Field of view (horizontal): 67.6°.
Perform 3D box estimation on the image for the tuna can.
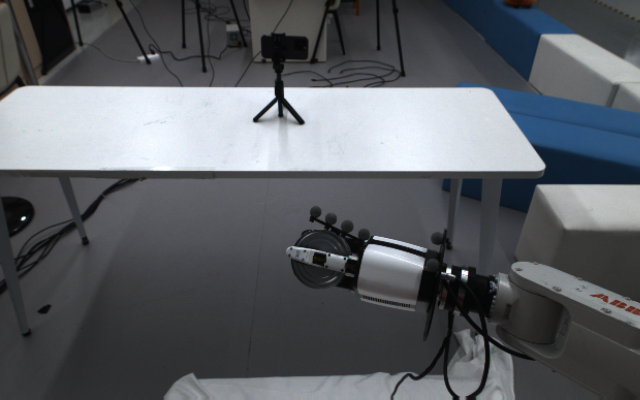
[{"bbox_3d":[0.005,0.085,0.703,0.085,0.085,0.034,14,-6,16],"label":"tuna can"}]
